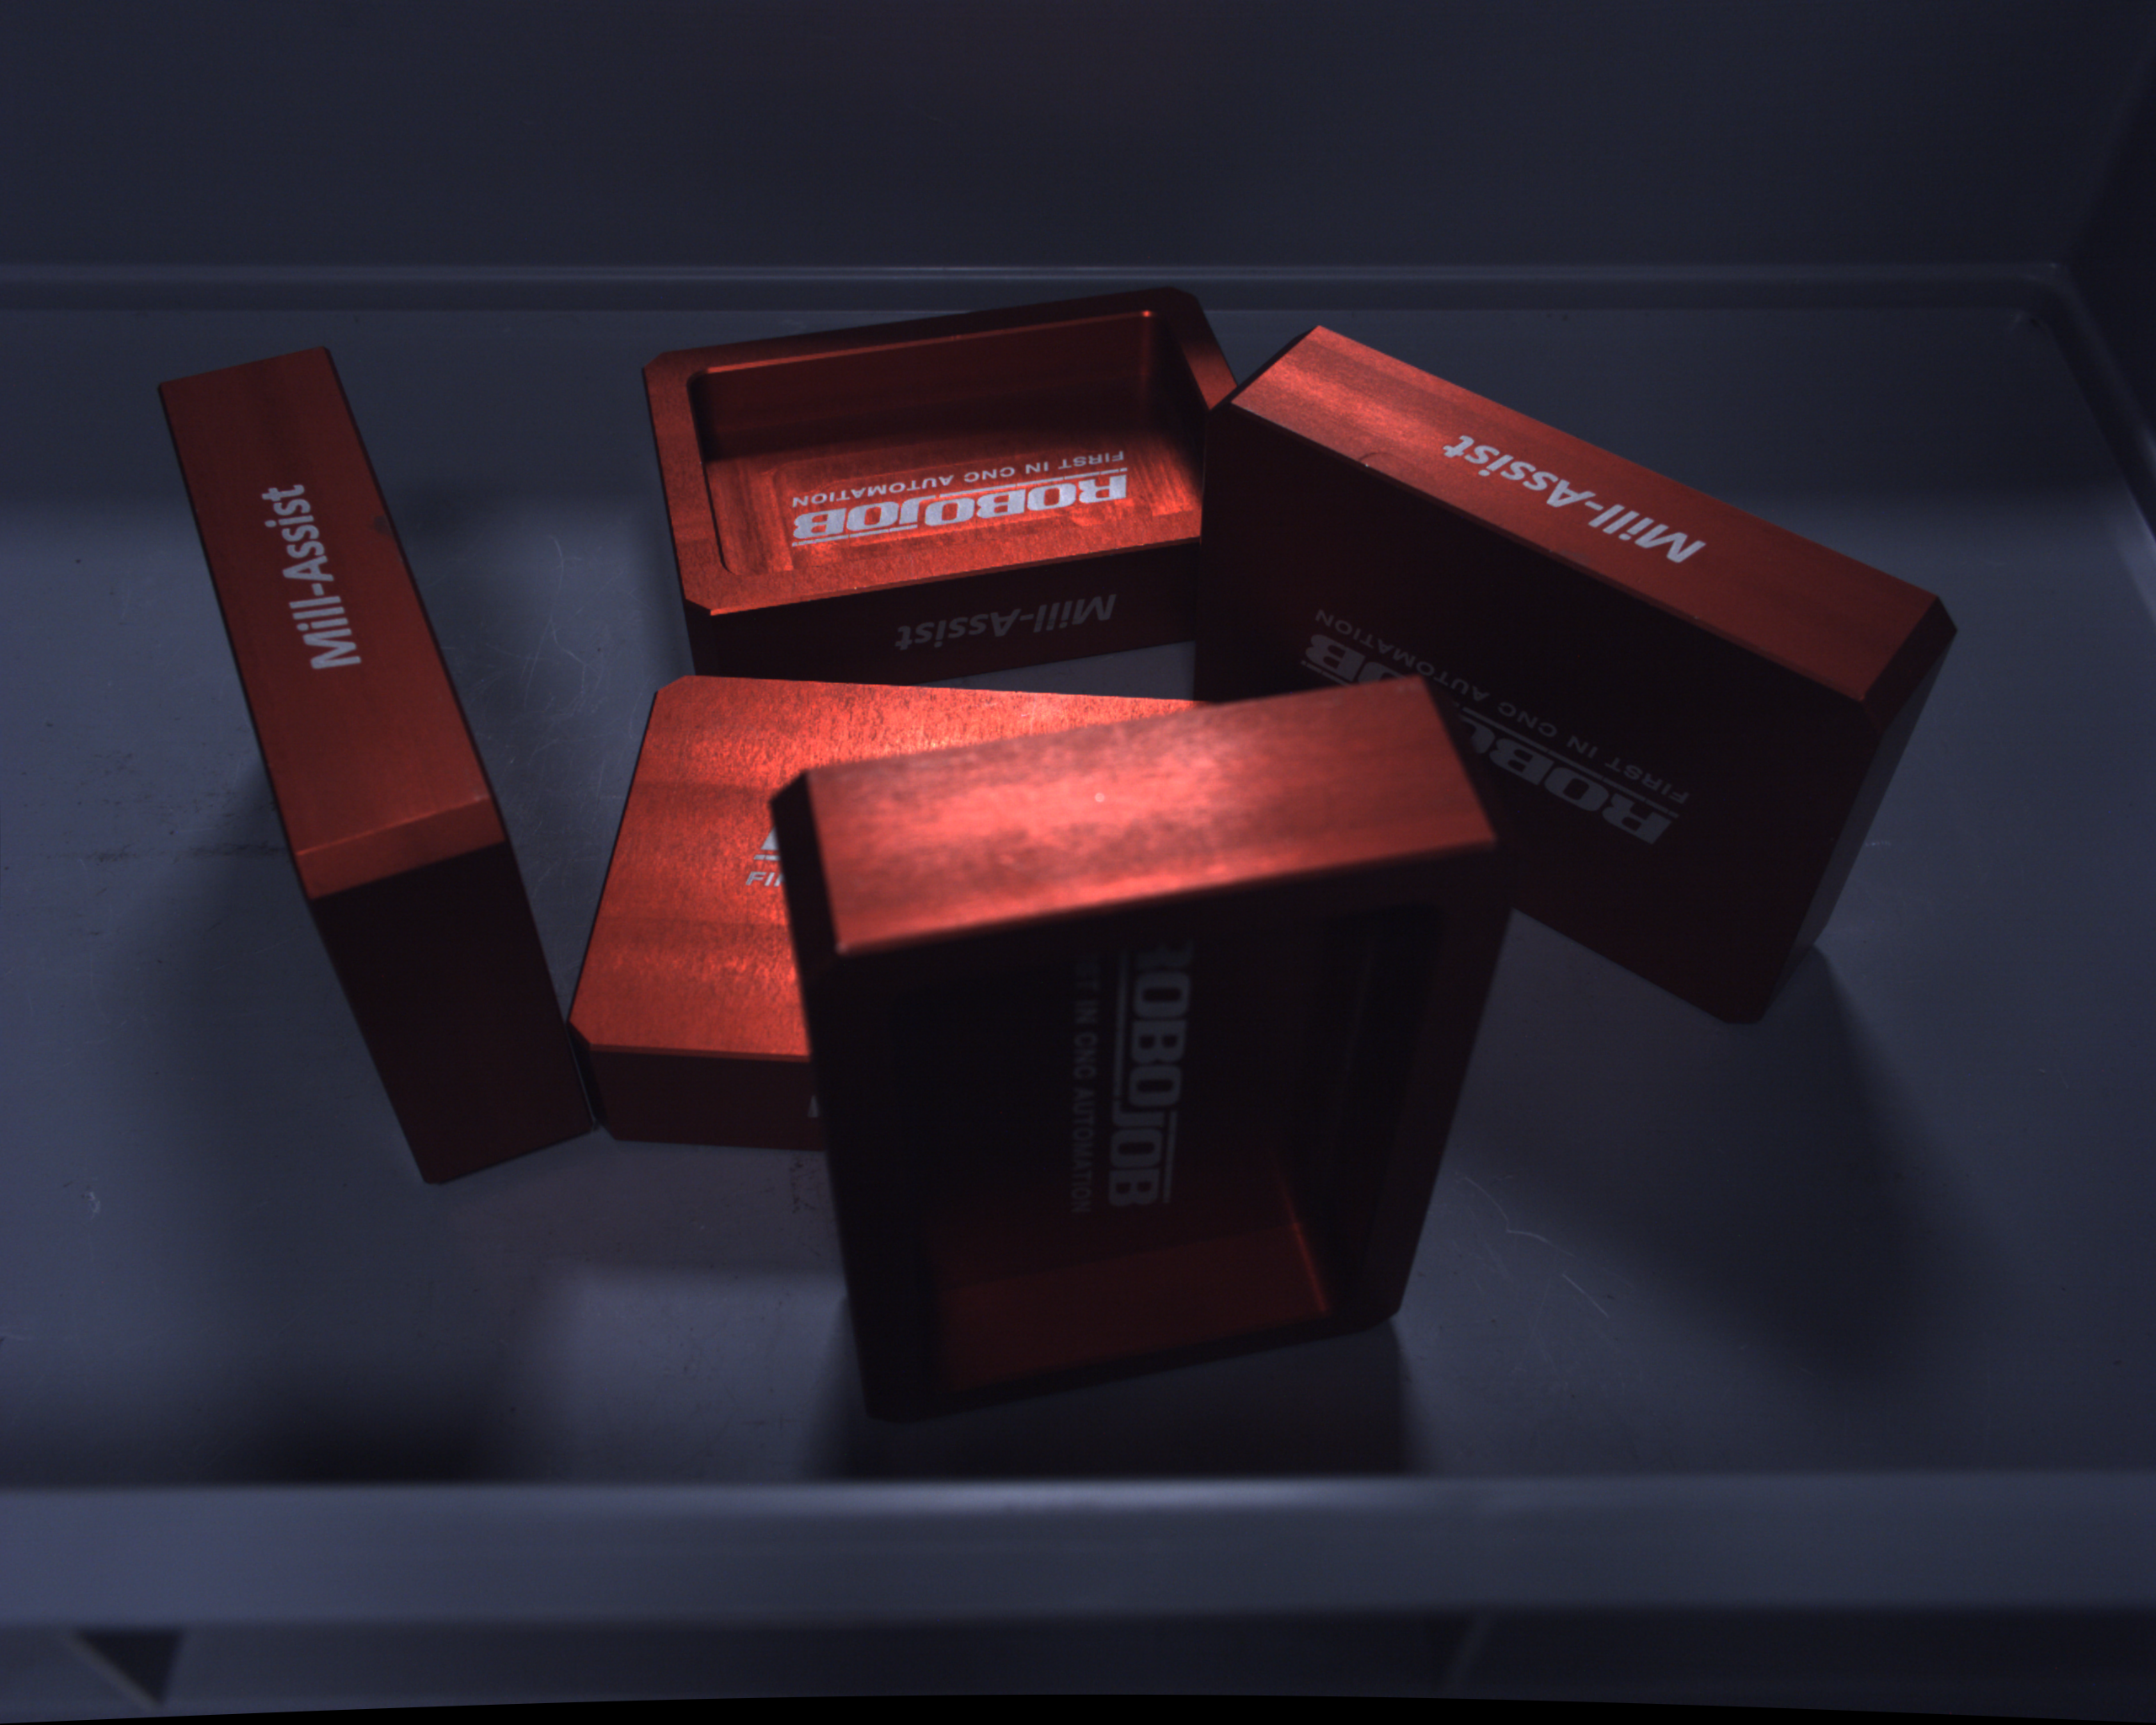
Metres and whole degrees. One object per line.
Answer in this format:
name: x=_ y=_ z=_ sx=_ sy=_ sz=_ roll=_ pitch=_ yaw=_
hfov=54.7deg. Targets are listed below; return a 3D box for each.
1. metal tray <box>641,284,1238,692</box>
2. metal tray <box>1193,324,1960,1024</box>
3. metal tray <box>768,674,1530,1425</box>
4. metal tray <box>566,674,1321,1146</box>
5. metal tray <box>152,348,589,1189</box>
metal tray: x=-0.026 y=-0.085 z=0.470 sx=0.131 sy=0.030 sz=0.090 roll=-10 pitch=51 yaw=-9
metal tray: x=0.084 y=-0.034 z=0.390 sx=0.130 sy=0.089 sz=0.030 roll=31 pitch=57 yaw=23
metal tray: x=0.008 y=0.033 z=0.305 sx=0.091 sy=0.129 sz=0.030 roll=-9 pitch=51 yaw=-9
metal tray: x=-0.020 y=0.009 z=0.390 sx=0.131 sy=0.030 sz=0.090 roll=3 pitch=50 yaw=2
metal tray: x=-0.127 y=-0.018 z=0.374 sx=0.030 sy=0.089 sz=0.130 roll=-19 pitch=53 yaw=-16
